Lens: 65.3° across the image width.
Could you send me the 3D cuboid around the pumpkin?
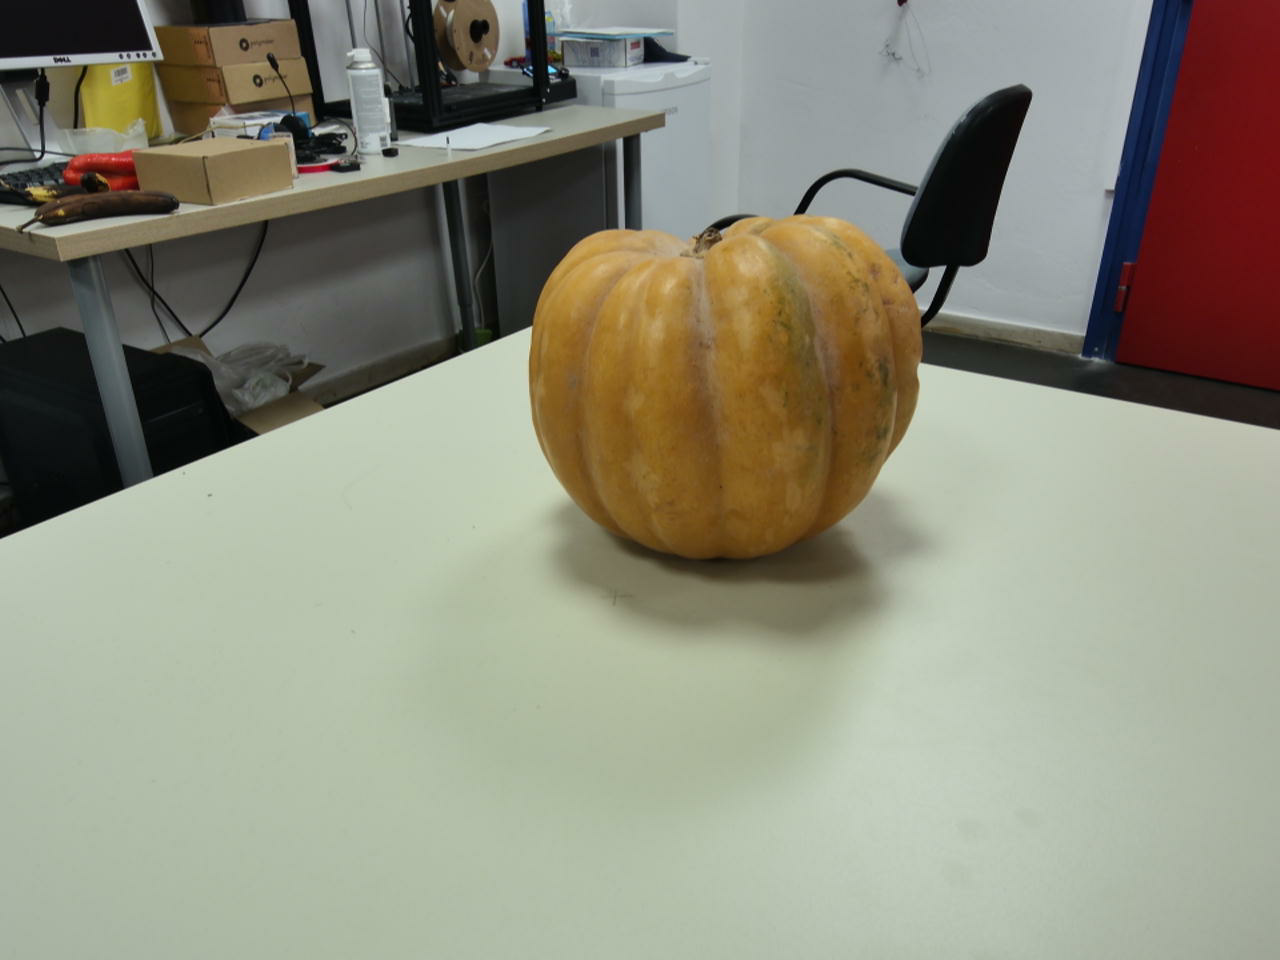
[{"bbox_3d":[0.048,-0.057,0.585,0.230,0.194,0.230,1,25,0],"label":"pumpkin"}]
